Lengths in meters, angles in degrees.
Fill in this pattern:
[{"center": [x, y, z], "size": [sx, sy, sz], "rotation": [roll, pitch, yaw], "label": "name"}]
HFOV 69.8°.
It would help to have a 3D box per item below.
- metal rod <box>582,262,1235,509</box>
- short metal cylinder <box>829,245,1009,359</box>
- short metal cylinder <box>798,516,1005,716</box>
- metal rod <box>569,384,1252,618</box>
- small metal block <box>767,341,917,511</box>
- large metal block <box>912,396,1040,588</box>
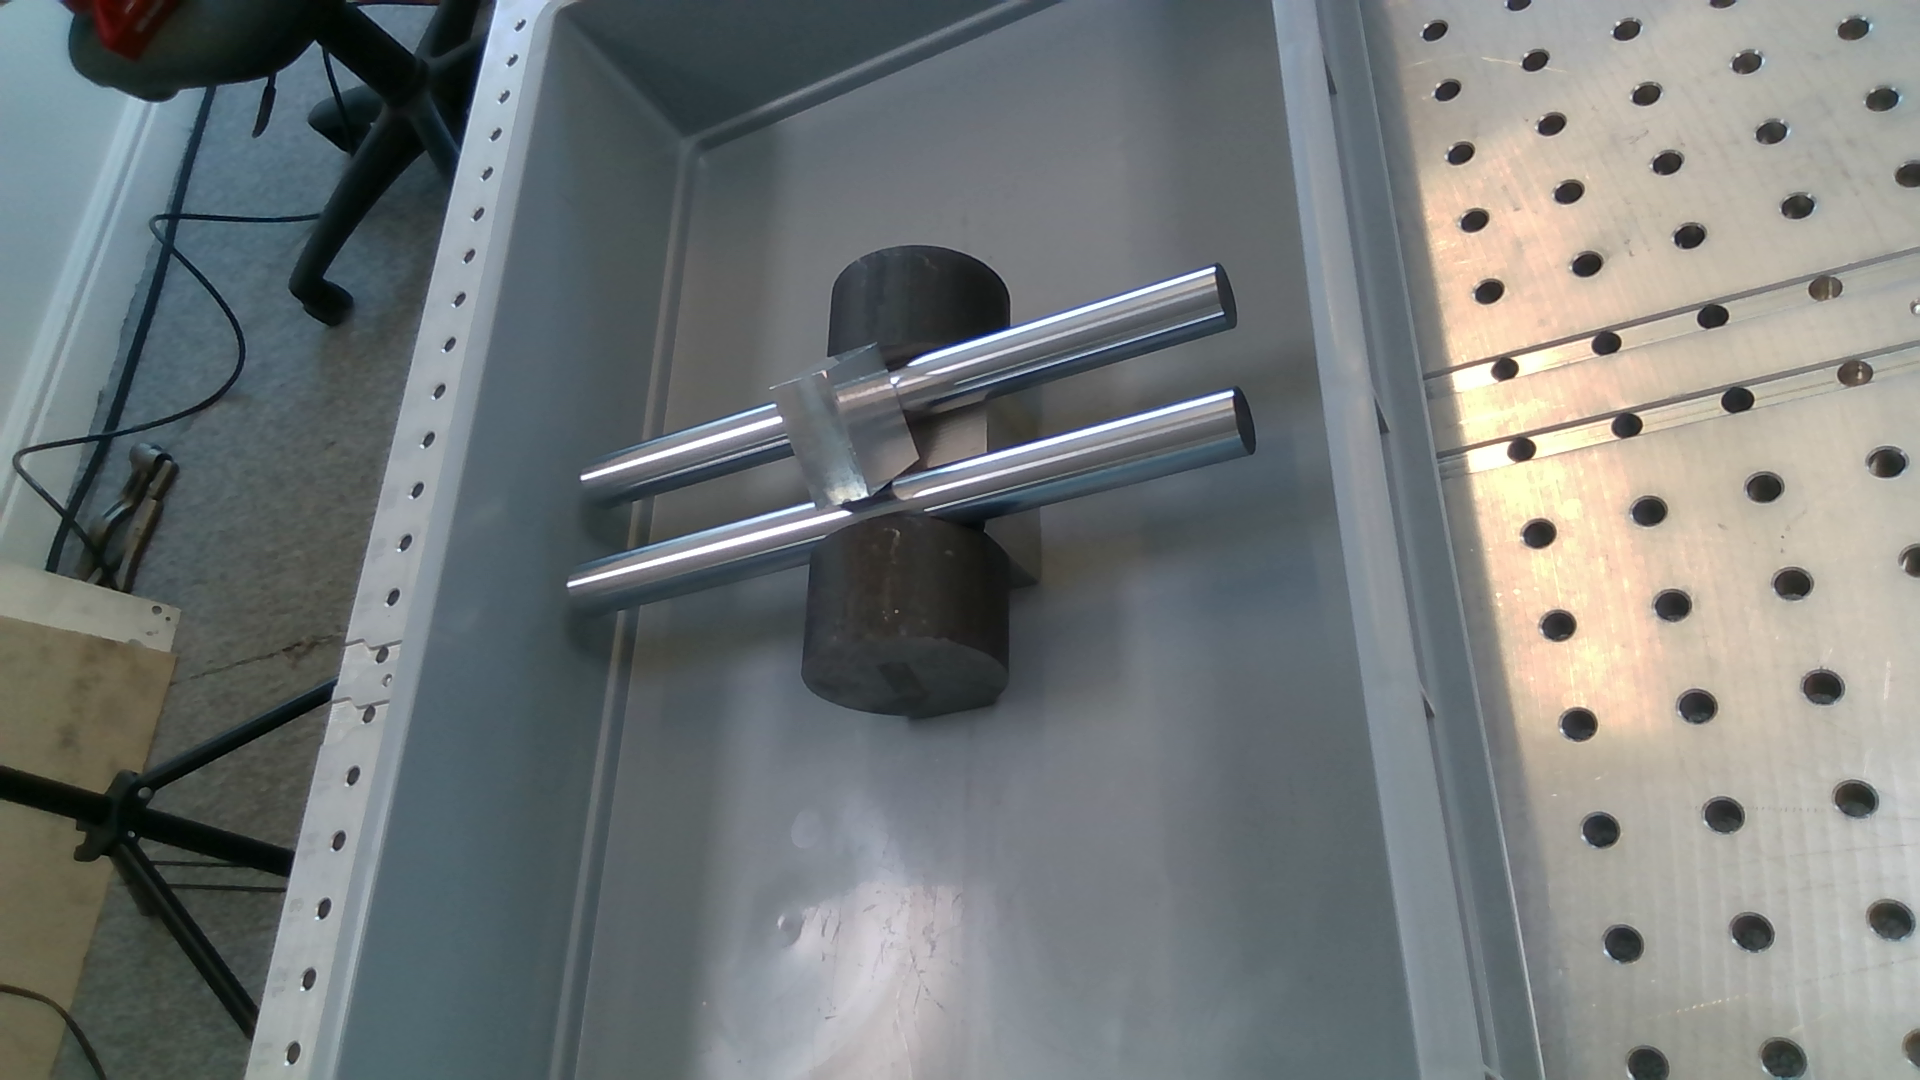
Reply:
[{"center": [-0.034, -0.058, 0.572], "size": [0.300, 0.025, 0.025], "rotation": [-14, 59, 25], "label": "metal rod"}, {"center": [-0.018, -0.084, 0.605], "size": [0.080, 0.080, 0.050], "rotation": [-13, 60, 26], "label": "short metal cylinder"}, {"center": [-0.022, 0.032, 0.545], "size": [0.080, 0.080, 0.050], "rotation": [-14, 58, 25], "label": "short metal cylinder"}, {"center": [-0.033, -0.010, 0.546], "size": [0.300, 0.025, 0.025], "rotation": [-14, 59, 25], "label": "metal rod"}, {"center": [-0.044, -0.045, 0.539], "size": [0.025, 0.050, 0.050], "rotation": [-14, 15, 25], "label": "small metal block"}, {"center": [-0.013, -0.020, 0.587], "size": [0.080, 0.050, 0.080], "rotation": [-14, 59, 25], "label": "large metal block"}]
